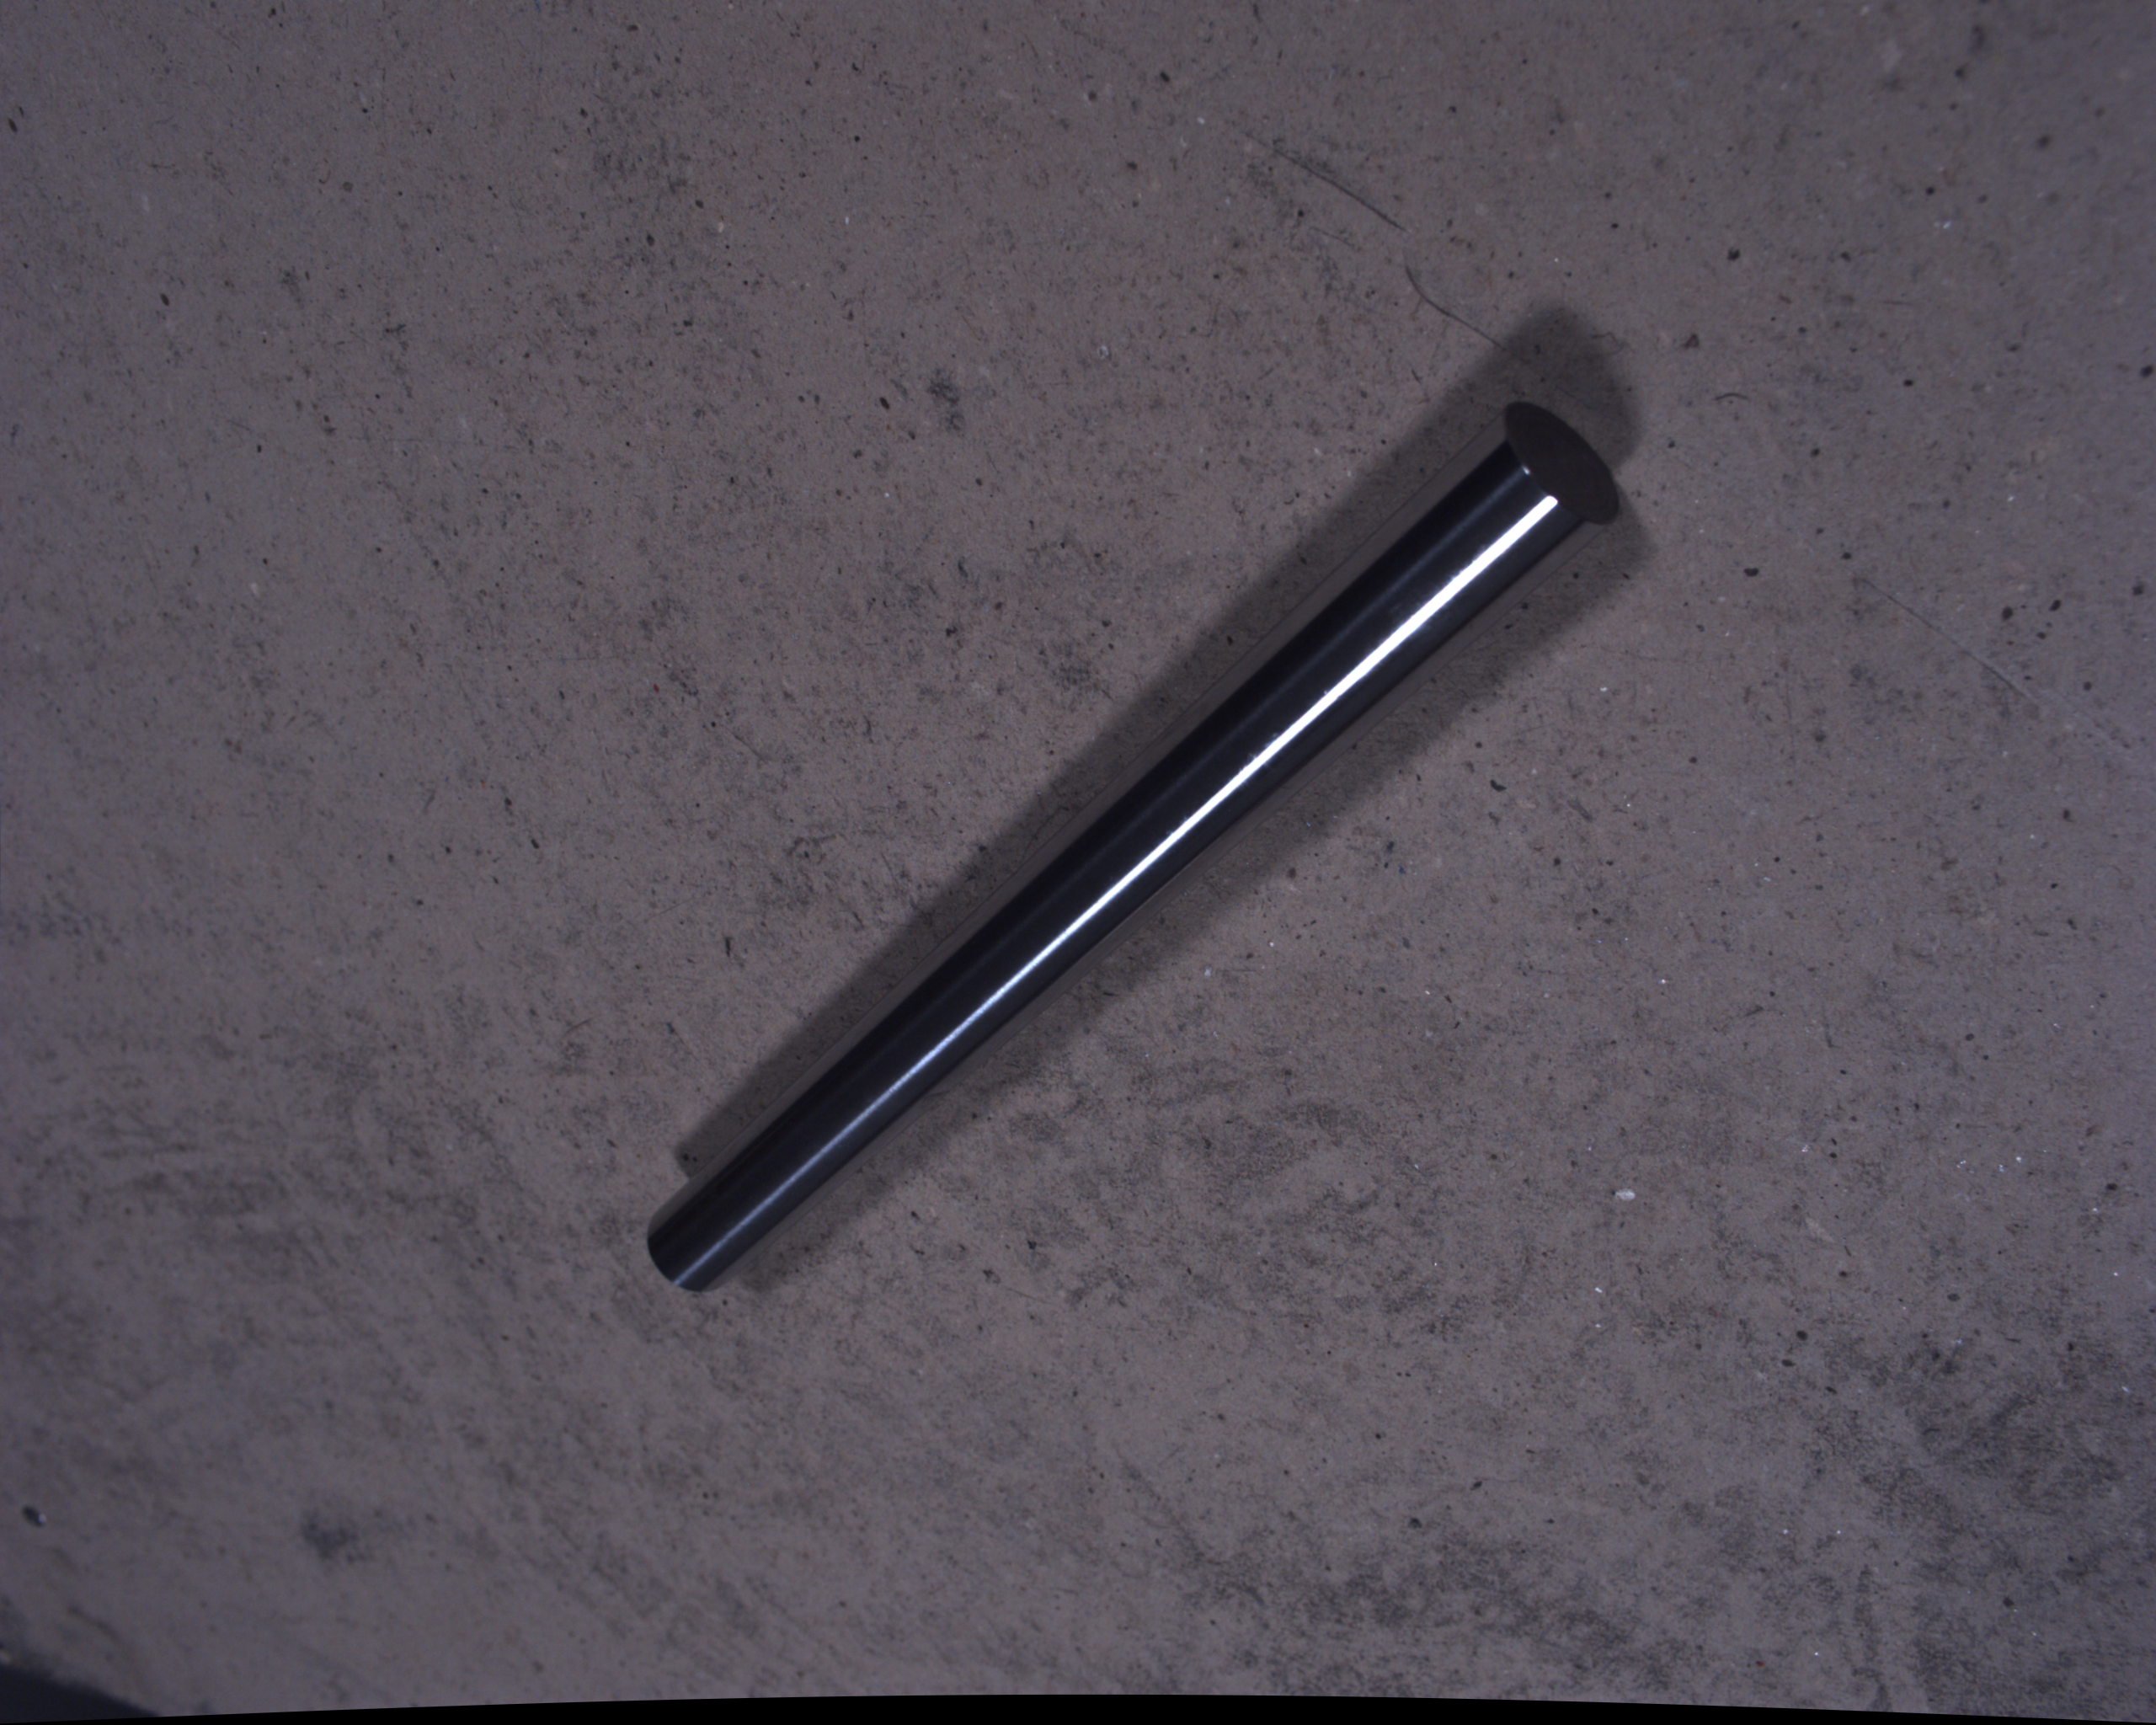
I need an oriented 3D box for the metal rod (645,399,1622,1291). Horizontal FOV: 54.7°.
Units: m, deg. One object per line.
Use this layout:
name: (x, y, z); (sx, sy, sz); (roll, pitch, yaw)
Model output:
metal rod: (-0.009, 0.015, 0.422); (0.025, 0.025, 0.299); (45, 129, -3)
